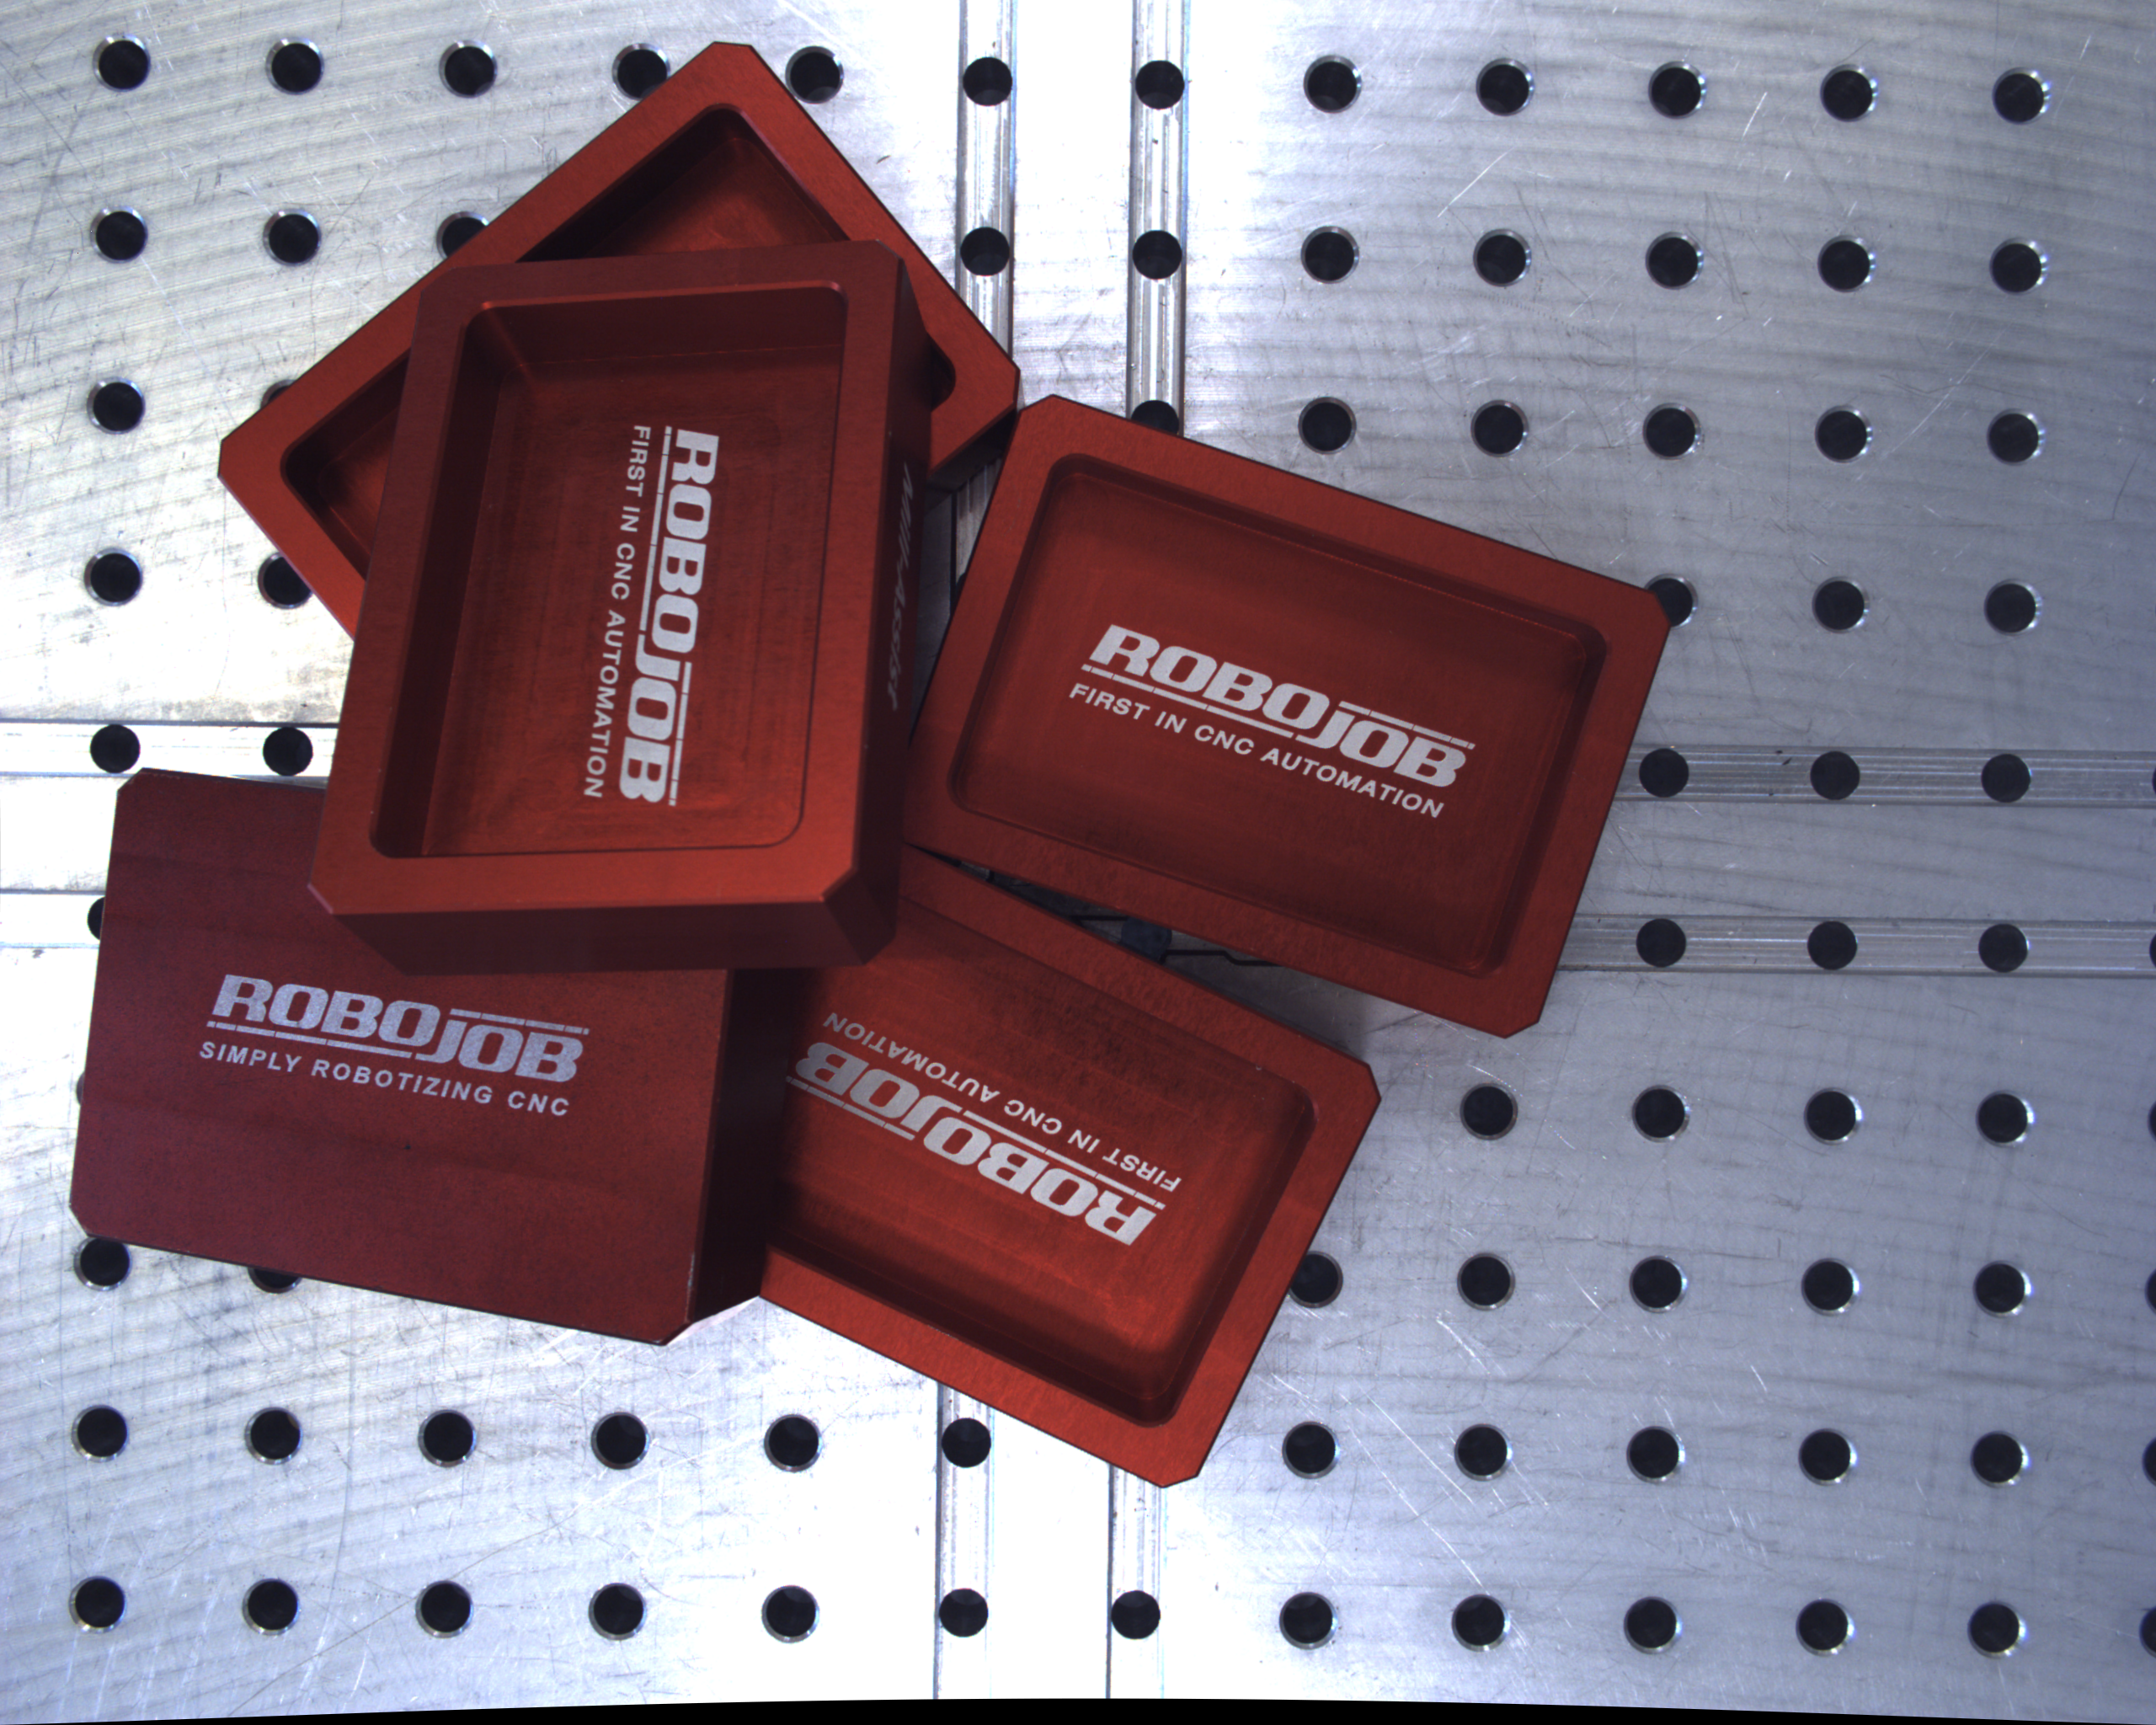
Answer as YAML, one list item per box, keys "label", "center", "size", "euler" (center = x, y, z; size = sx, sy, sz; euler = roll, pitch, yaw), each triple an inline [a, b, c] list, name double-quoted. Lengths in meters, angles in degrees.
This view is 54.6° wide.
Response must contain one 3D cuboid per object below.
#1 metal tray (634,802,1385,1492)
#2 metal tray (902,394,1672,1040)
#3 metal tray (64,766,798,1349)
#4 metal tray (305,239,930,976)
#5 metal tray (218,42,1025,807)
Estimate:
- label: "metal tray"
  center: [-0.018, 0.053, 0.410]
  size: [0.130, 0.030, 0.090]
  euler: [25, 90, 0]
- label: "metal tray"
  center: [0.038, -0.028, 0.410]
  size: [0.131, 0.030, 0.090]
  euler: [18, 91, 0]
- label: "metal tray"
  center: [-0.121, 0.034, 0.393]
  size: [0.130, 0.030, 0.090]
  euler: [7, 91, 14]
- label: "metal tray"
  center: [-0.076, -0.047, 0.368]
  size: [0.090, 0.030, 0.130]
  euler: [-2, 66, 7]
- label: "metal tray"
  center: [-0.087, -0.083, 0.409]
  size: [0.130, 0.030, 0.090]
  euler: [-39, 89, 0]
